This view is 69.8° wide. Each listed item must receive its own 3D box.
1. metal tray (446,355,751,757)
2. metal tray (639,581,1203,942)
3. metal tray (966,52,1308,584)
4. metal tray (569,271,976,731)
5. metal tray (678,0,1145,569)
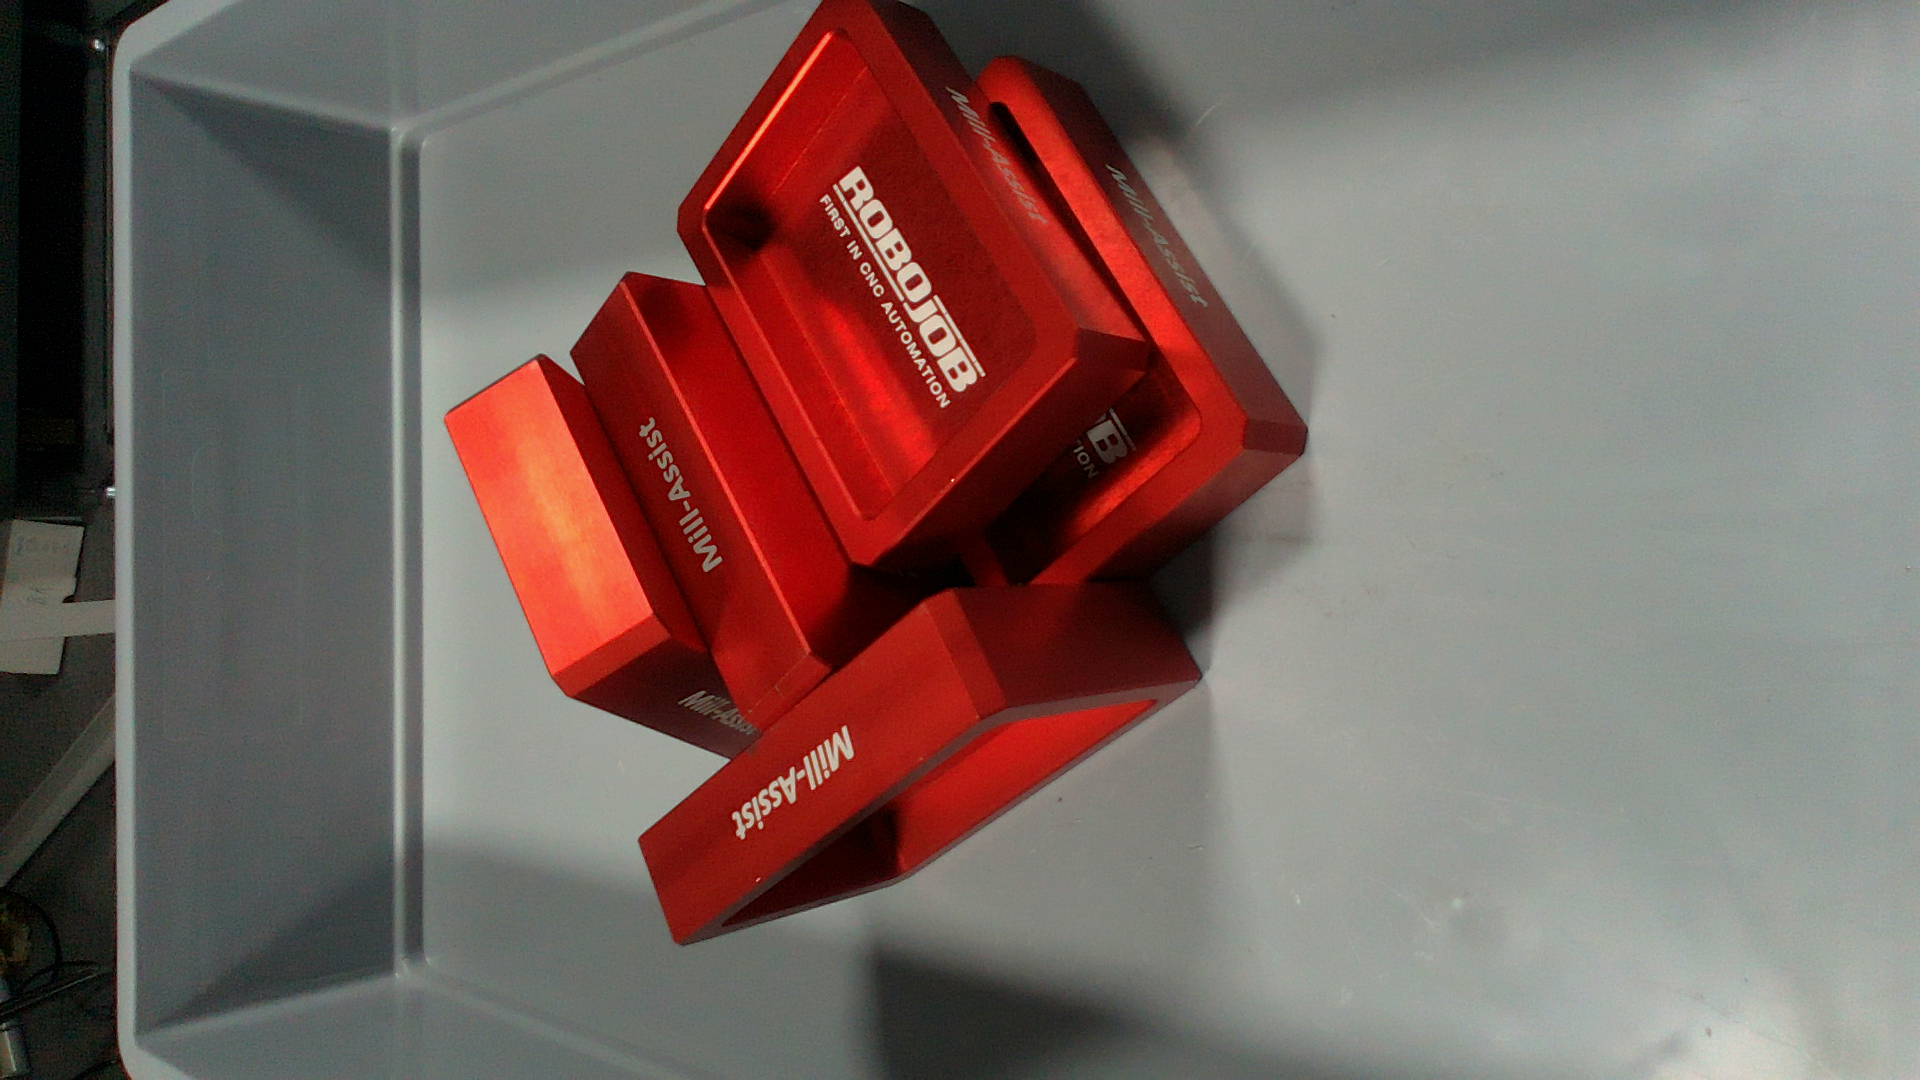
[{"bbox_3d":[-0.086,0.013,0.399,0.030,0.130,0.090,-31,67,3],"label":"metal tray"},{"bbox_3d":[-0.011,0.058,0.360,0.130,0.090,0.030,-40,65,33],"label":"metal tray"},{"bbox_3d":[0.023,-0.053,0.372,0.090,0.030,0.130,-42,63,34],"label":"metal tray"},{"bbox_3d":[-0.044,-0.013,0.386,0.030,0.090,0.130,-44,63,31],"label":"metal tray"},{"bbox_3d":[-0.019,-0.069,0.366,0.090,0.030,0.130,-44,63,32],"label":"metal tray"}]
